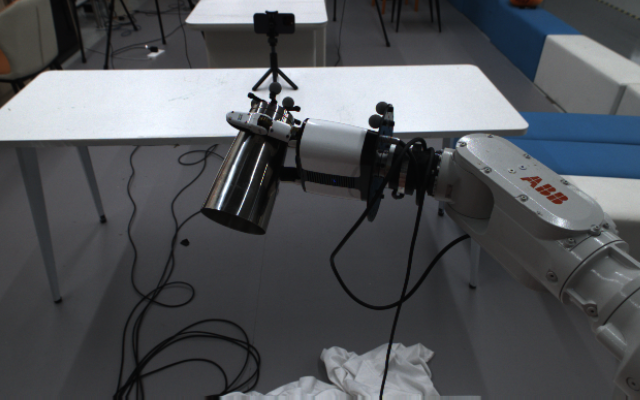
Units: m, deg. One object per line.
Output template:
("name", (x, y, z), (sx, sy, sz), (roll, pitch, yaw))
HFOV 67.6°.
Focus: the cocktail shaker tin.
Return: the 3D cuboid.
("cocktail shaker tin", (-0.091, -0.049, 0.674), (0.093, 0.093, 0.170), (13, 72, 15))
